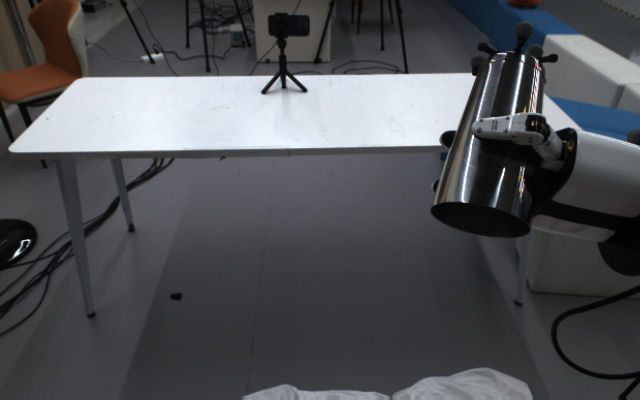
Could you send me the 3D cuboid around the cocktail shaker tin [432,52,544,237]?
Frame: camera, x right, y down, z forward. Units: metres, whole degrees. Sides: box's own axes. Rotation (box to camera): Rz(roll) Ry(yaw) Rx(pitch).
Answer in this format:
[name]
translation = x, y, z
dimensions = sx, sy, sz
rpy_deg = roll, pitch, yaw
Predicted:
[cocktail shaker tin]
translation = 0.178, -0.057, 0.485
dimensions = 0.093, 0.093, 0.170
rpy_deg = 13, 74, 15
